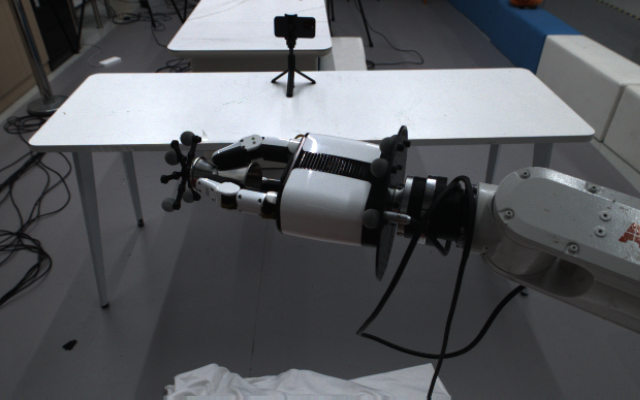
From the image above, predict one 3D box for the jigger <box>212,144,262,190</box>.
[{"bbox_3d":[-0.098,-0.027,0.537,0.071,0.043,0.043,8,35,17],"label":"jigger"}]
